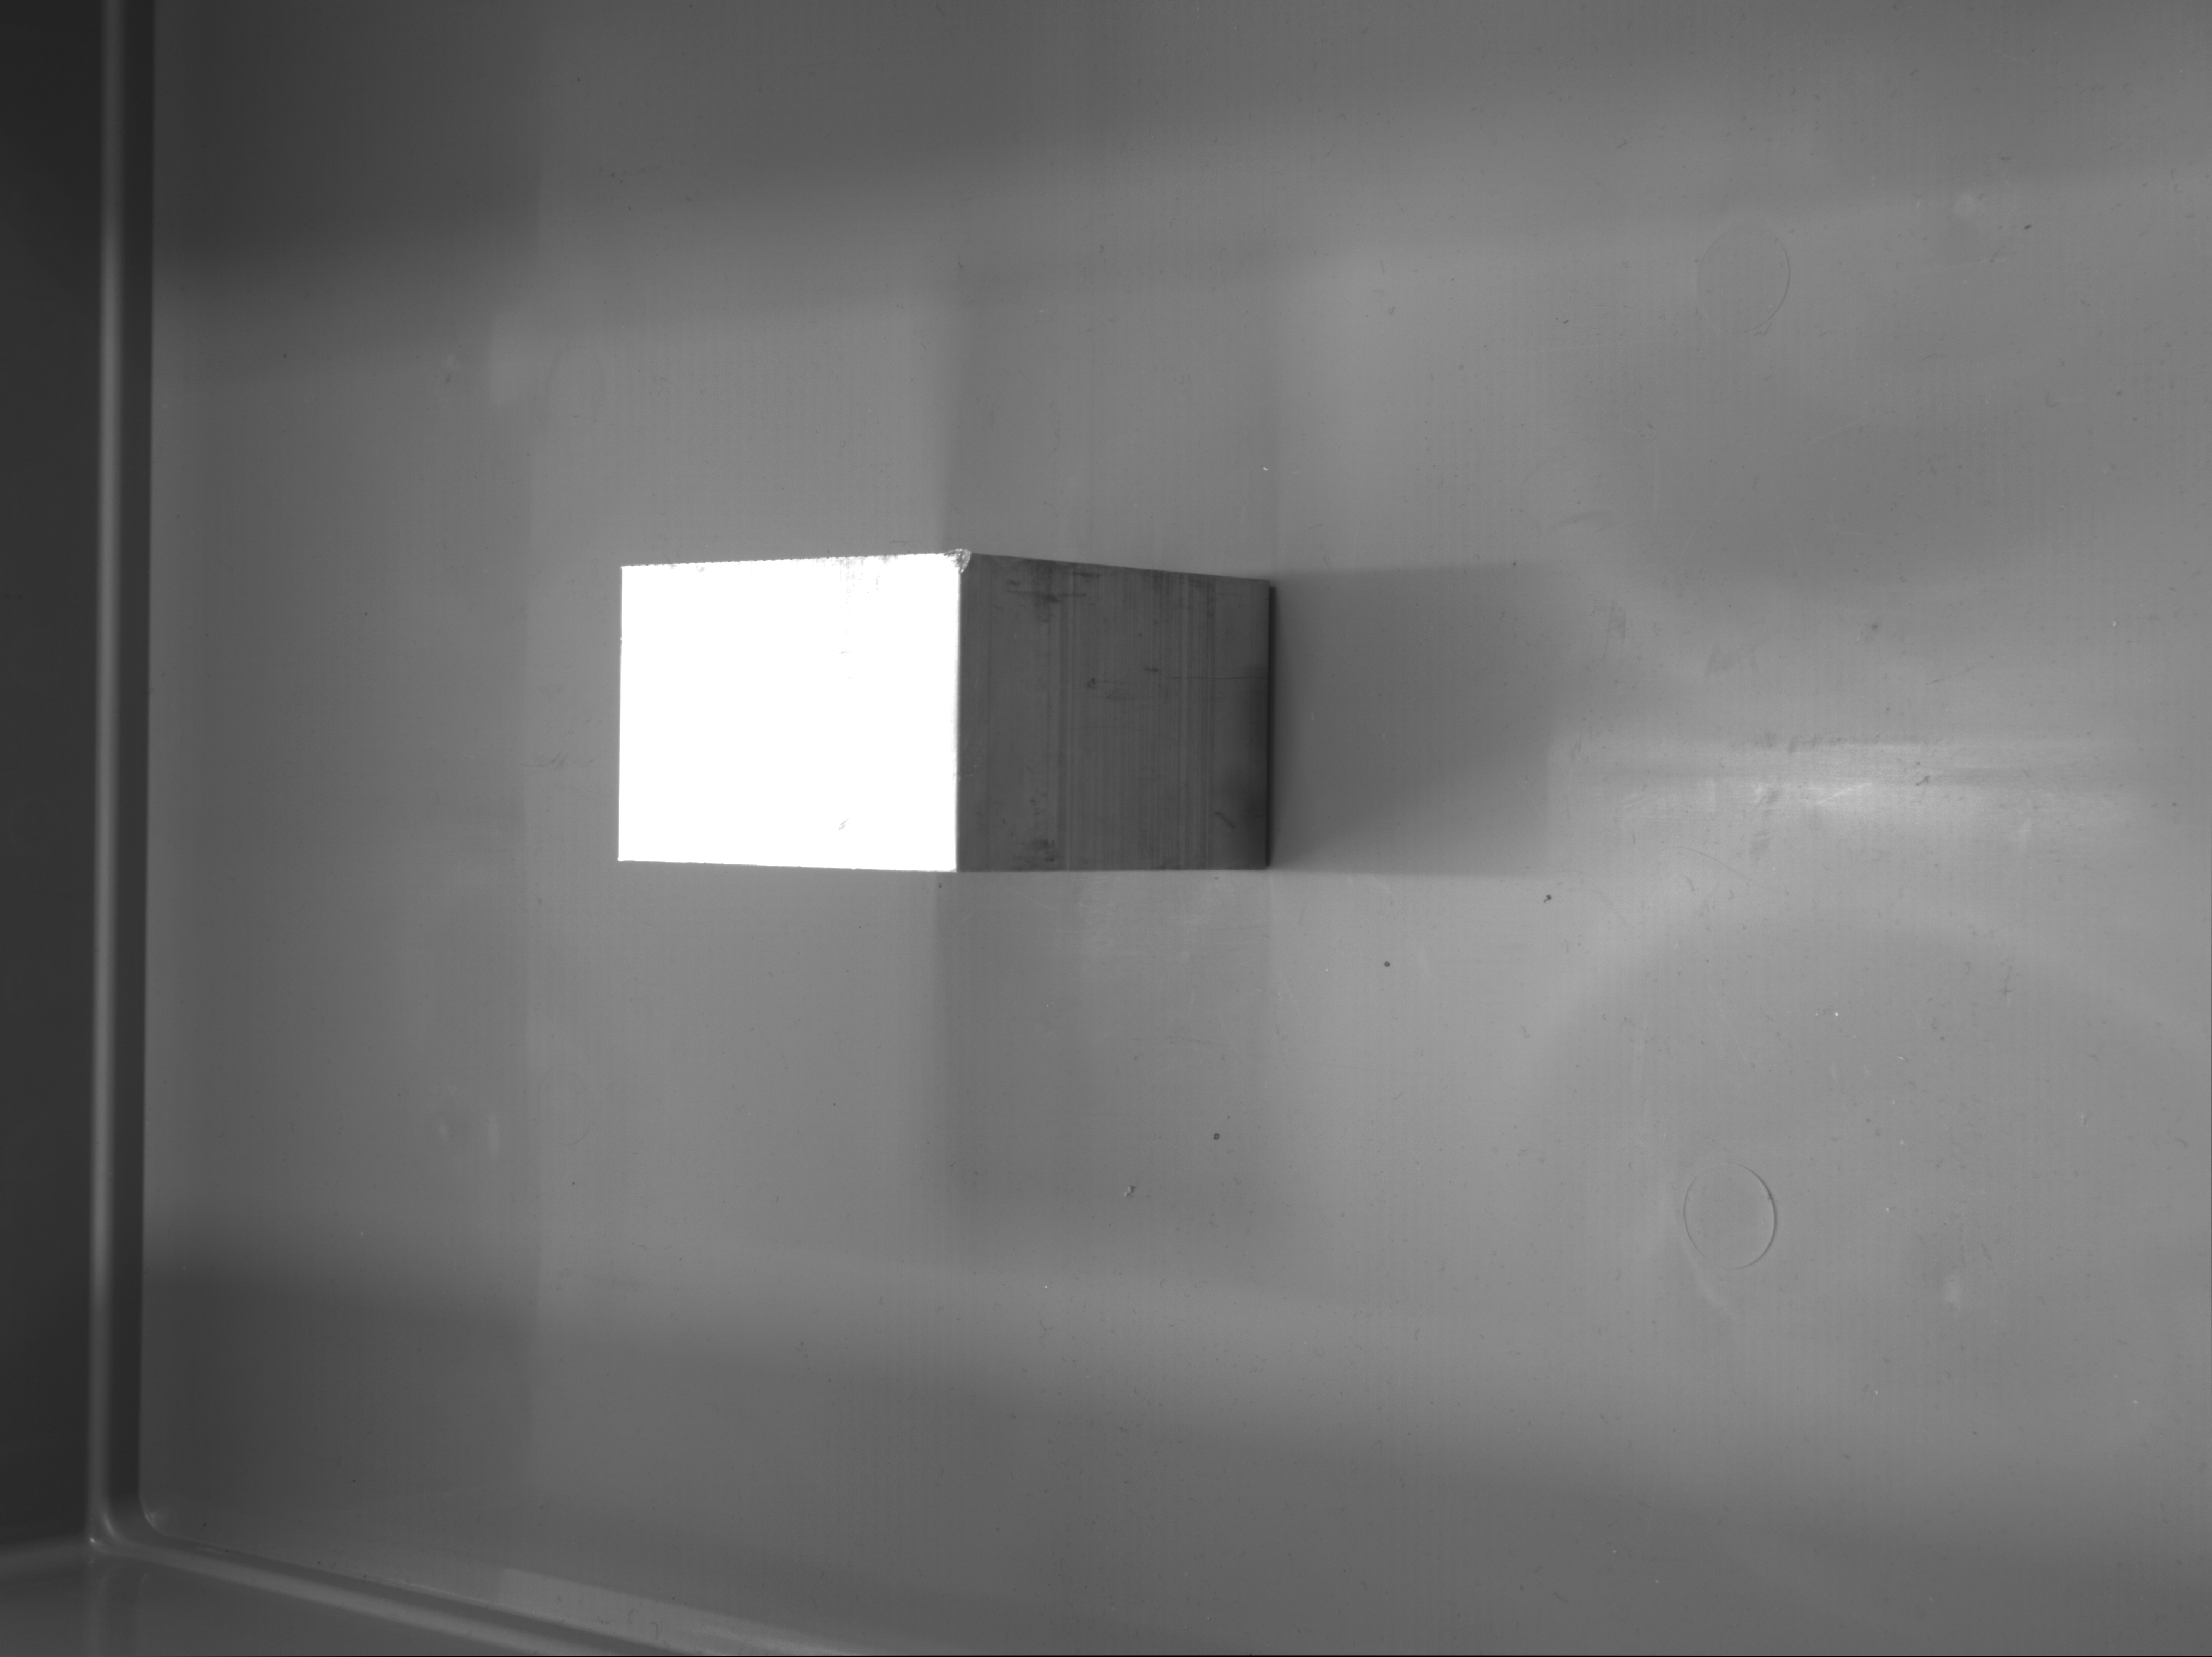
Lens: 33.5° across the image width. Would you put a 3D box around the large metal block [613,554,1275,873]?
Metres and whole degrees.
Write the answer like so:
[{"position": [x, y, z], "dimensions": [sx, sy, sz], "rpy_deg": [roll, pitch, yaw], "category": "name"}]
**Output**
[{"position": [-0.027, -0.019, 0.631], "dimensions": [0.080, 0.080, 0.050], "rpy_deg": [1, 91, 40], "category": "large metal block"}]
